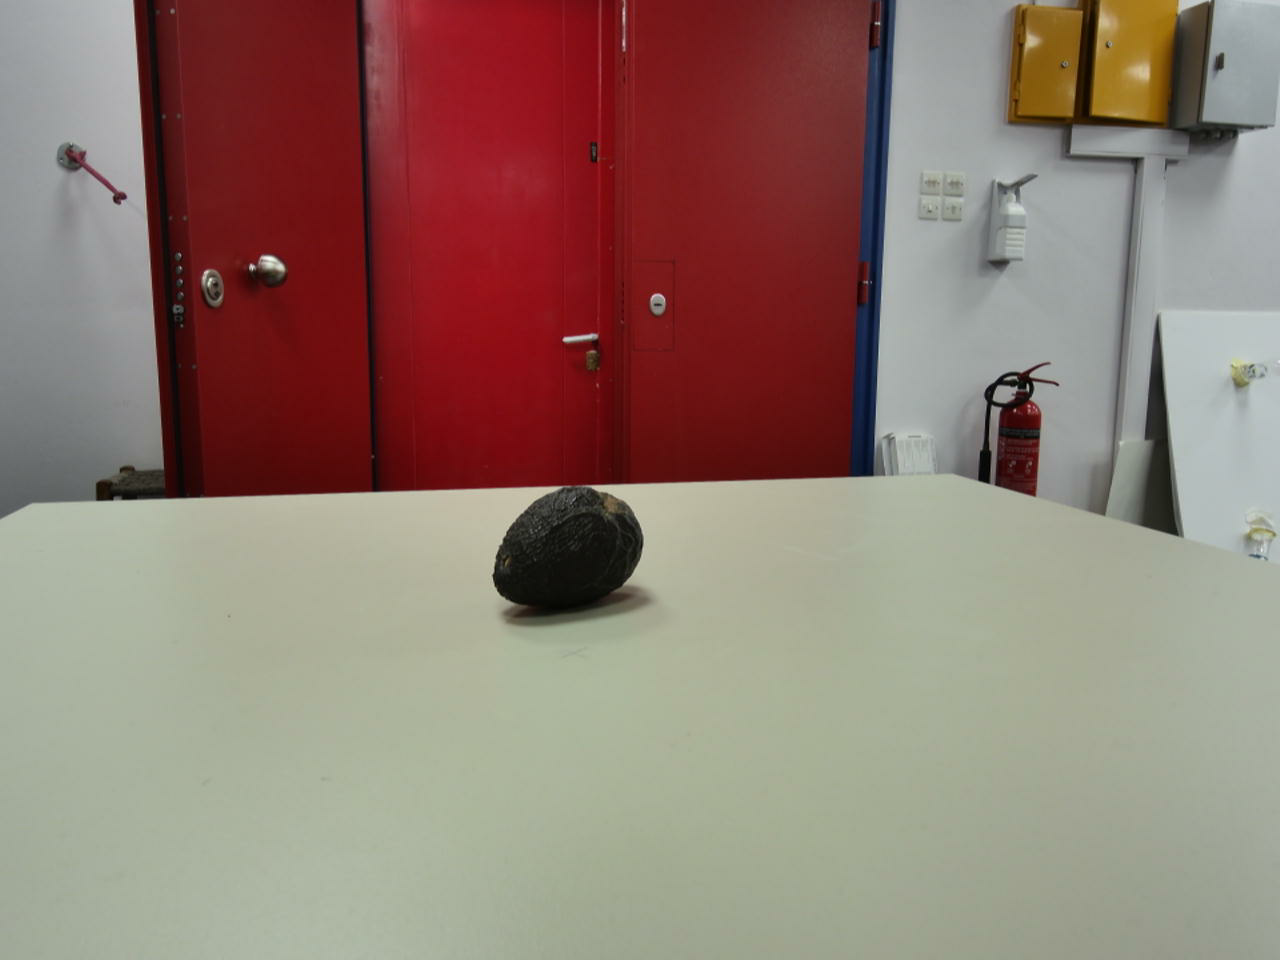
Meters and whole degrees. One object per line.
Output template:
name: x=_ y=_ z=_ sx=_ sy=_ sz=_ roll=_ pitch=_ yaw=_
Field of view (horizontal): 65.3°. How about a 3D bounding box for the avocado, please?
avocado: x=-0.039 y=0.035 z=0.527 sx=0.092 sy=0.062 sz=0.062 roll=-5 pitch=9 yaw=-36
